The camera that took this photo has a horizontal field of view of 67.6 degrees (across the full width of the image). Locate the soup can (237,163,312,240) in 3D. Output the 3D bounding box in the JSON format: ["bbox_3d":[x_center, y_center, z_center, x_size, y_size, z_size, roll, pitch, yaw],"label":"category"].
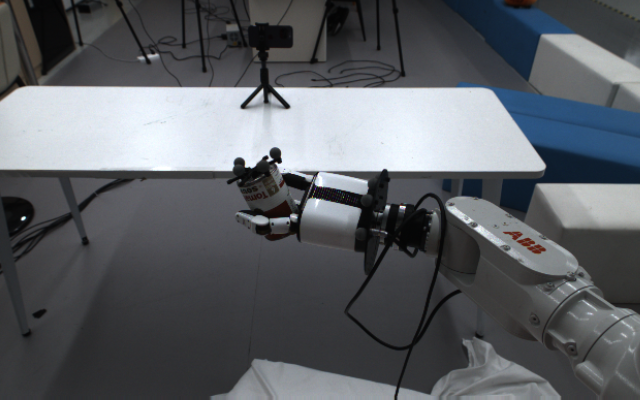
[{"bbox_3d":[-0.074,0.003,0.740,0.067,0.101,0.067,-21,24,10],"label":"soup can"}]
